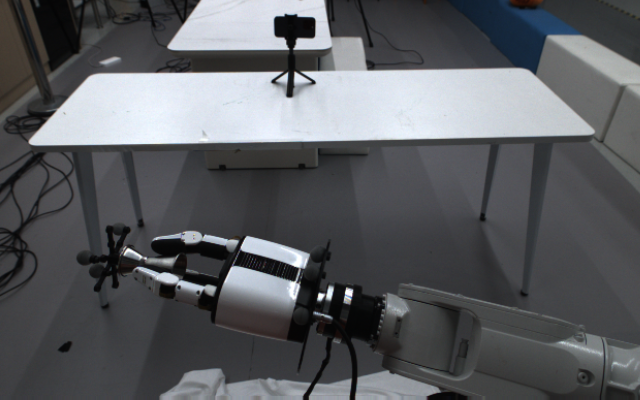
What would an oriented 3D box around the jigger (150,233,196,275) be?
[{"bbox_3d":[-0.192,0.073,0.584,0.071,0.043,0.043,8,35,6],"label":"jigger"}]
